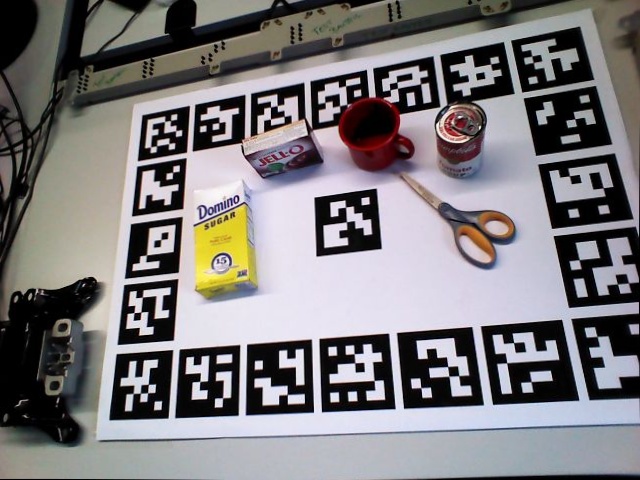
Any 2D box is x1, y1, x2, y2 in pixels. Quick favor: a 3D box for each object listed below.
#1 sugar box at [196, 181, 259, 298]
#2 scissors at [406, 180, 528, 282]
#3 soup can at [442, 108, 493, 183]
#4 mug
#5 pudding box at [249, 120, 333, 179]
[{"bbox_3d":[-0.151,-0.002,0.833,0.093,0.045,0.175,-10,71,15],"label":"sugar box"},{"bbox_3d":[0.202,-0.029,0.750,0.203,0.016,0.088,43,97,23],"label":"scissors"},{"bbox_3d":[0.214,-0.133,0.744,0.068,0.102,0.067,-6,69,15],"label":"soup can"},{"bbox_3d":[0.102,-0.157,0.788,0.093,0.081,0.117,-41,65,2],"label":"mug"},{"bbox_3d":[-0.045,-0.143,0.818,0.114,0.090,0.038,-15,75,10],"label":"pudding box"}]
